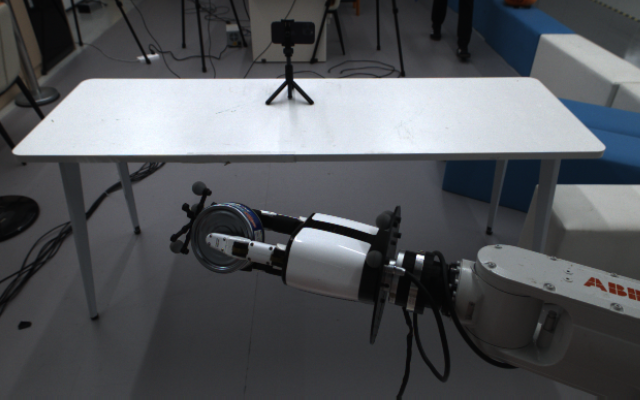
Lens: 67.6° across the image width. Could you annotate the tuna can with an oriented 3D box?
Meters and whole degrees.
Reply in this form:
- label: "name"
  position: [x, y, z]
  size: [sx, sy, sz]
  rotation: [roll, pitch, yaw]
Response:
- label: "tuna can"
  position: [-0.109, 0.051, 0.588]
  size: [0.085, 0.085, 0.034]
  rotation: [12, 5, 13]
